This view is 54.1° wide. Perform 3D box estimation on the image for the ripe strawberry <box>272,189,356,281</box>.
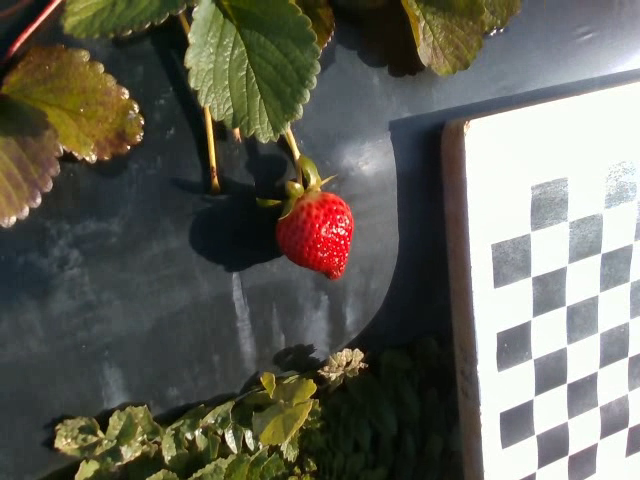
[{"bbox_3d":[0.000,0.001,0.264,0.040,0.044,0.037,-33,10,-13],"label":"ripe strawberry"}]
